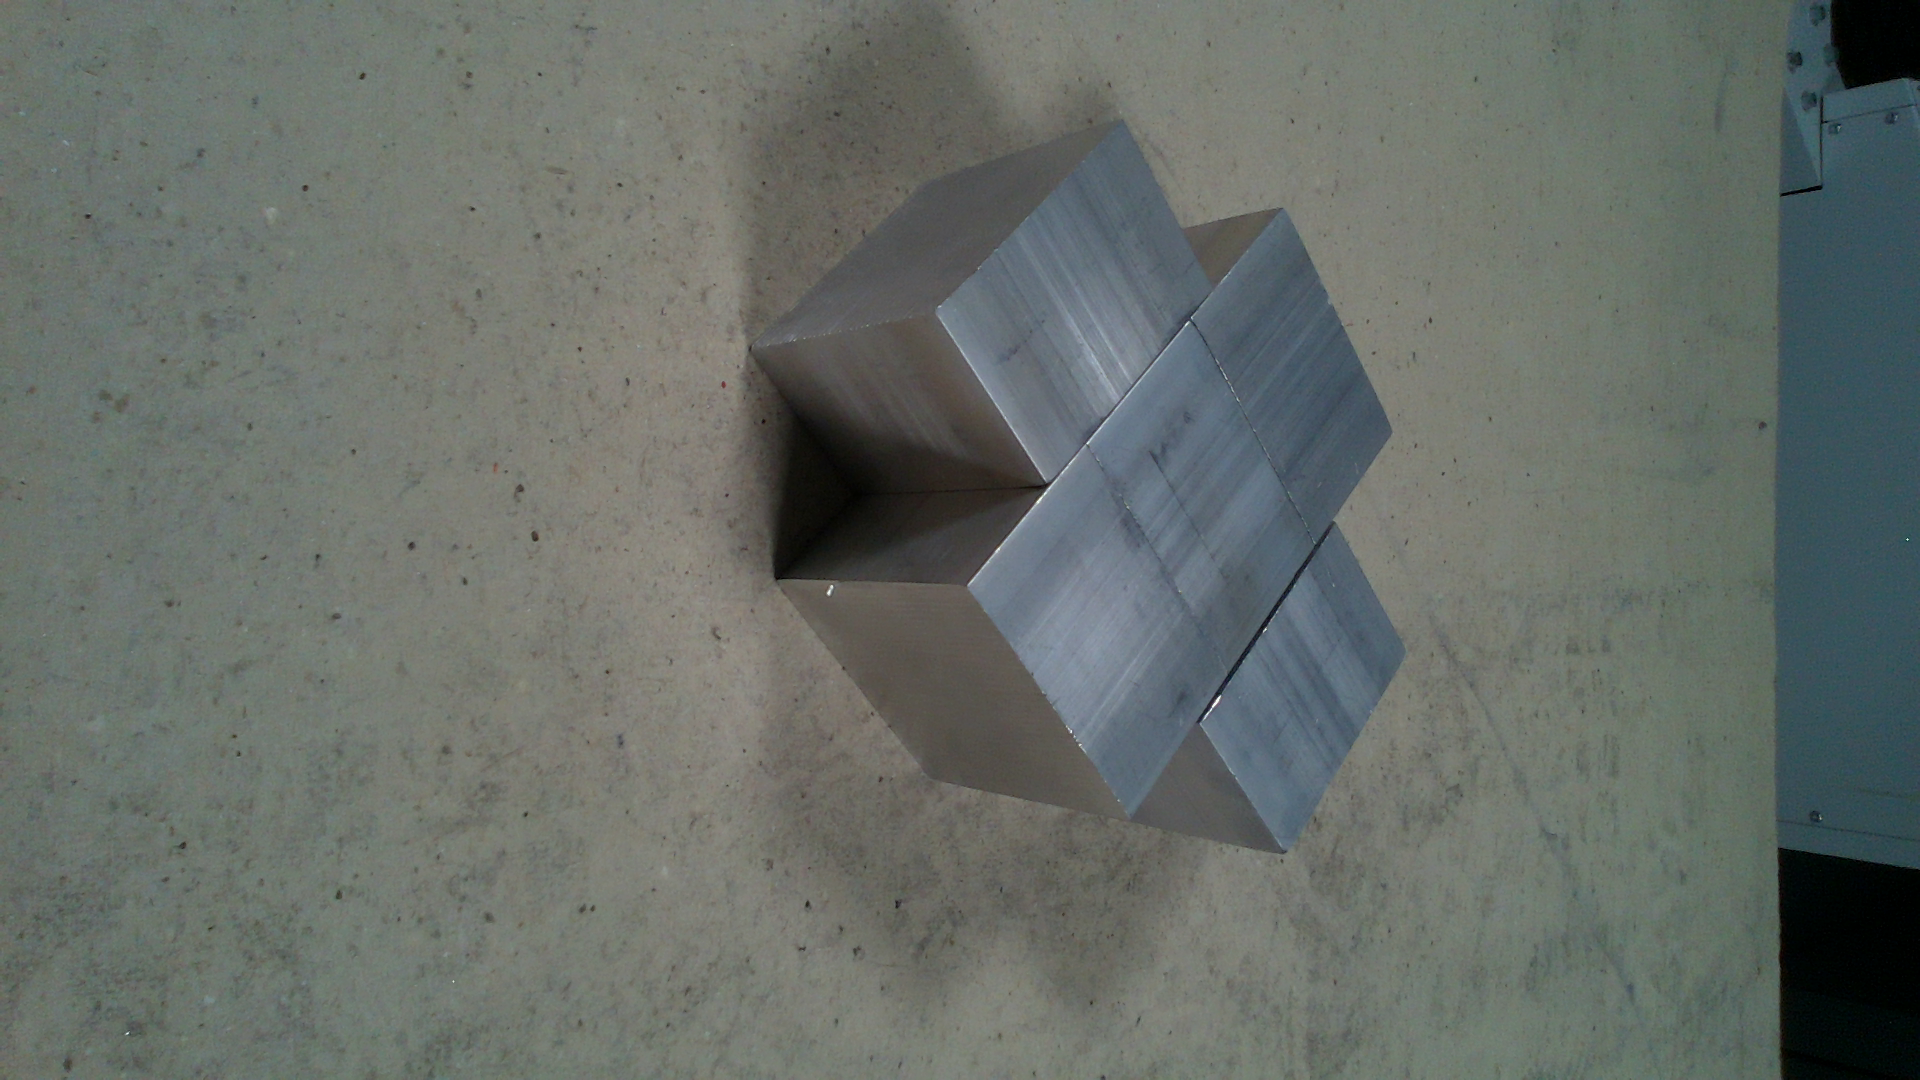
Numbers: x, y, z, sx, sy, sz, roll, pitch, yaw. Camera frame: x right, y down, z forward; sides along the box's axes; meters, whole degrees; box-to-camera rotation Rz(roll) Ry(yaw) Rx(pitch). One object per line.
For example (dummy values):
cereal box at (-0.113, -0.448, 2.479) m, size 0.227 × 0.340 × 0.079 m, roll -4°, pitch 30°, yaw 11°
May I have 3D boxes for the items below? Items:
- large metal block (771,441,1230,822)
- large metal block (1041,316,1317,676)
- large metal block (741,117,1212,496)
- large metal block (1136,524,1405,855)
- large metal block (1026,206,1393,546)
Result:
large metal block at (0.010, 0.023, 0.363) m, size 0.050 × 0.080 × 0.080 m, roll -50°, pitch 119°, yaw -28°
large metal block at (0.039, -0.011, 0.387) m, size 0.050 × 0.080 × 0.080 m, roll -50°, pitch 119°, yaw -28°
large metal block at (0.004, -0.058, 0.357) m, size 0.080 × 0.080 × 0.050 m, roll -50°, pitch 119°, yaw -28°
large metal block at (0.073, 0.041, 0.415) m, size 0.080 × 0.080 × 0.050 m, roll -50°, pitch 119°, yaw -28°
large metal block at (0.068, -0.045, 0.411) m, size 0.050 × 0.080 × 0.080 m, roll -50°, pitch 119°, yaw -28°
